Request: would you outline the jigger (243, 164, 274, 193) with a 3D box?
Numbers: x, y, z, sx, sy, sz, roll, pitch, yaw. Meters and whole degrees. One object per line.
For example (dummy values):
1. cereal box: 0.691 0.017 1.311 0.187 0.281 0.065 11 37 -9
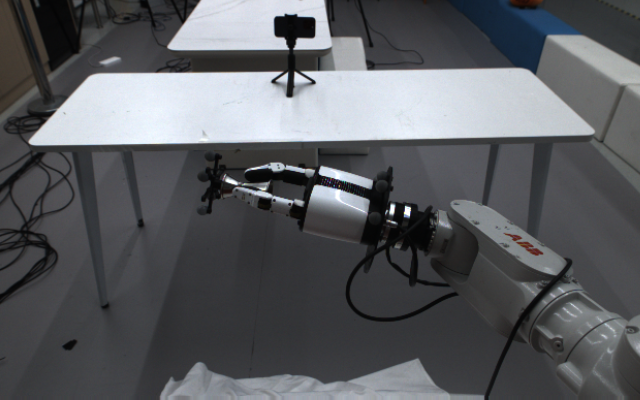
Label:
1. jigger: -0.100 -0.017 0.710 0.071 0.043 0.043 10 35 3
